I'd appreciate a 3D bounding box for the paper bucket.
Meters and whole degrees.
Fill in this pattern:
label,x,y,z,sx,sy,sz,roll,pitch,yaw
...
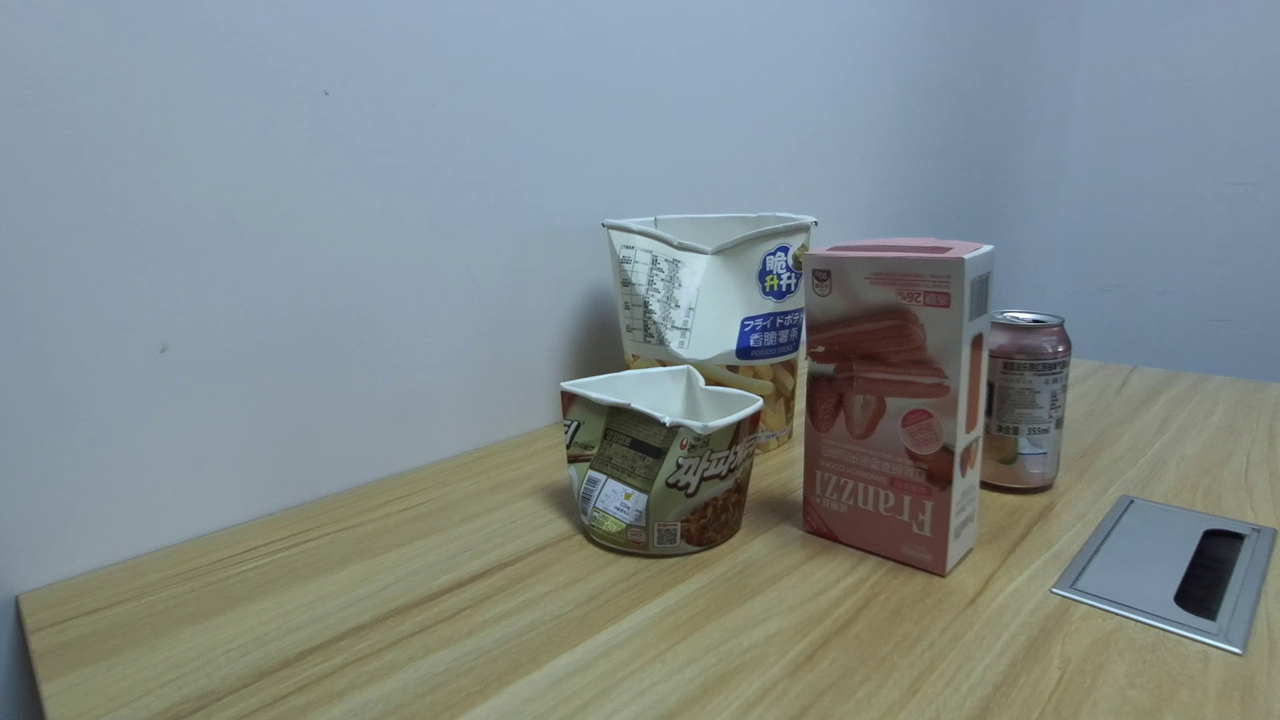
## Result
label,x,y,z,sx,sy,sz,roll,pitch,yaw
paper bucket,0.054,-0.026,0.630,0.163,0.202,0.169,-5,11,-6

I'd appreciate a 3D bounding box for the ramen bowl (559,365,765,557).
label,x,y,z,sx,sy,sz,roll,pitch,yaw
ramen bowl,0.017,0.066,0.471,0.112,0.093,0.128,-8,16,-23

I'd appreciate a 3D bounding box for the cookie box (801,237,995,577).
label,x,y,z,sx,sy,sz,roll,pitch,yaw
cookie box,0.147,0.023,0.427,0.104,0.187,0.049,10,20,41
